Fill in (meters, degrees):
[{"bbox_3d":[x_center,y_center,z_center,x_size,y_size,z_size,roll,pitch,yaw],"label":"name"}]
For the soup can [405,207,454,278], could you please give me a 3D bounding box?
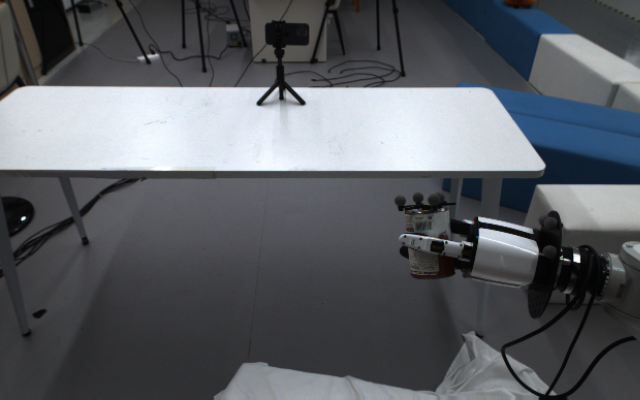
[{"bbox_3d":[0.168,0.063,0.737,0.067,0.101,0.067,-6,3,0],"label":"soup can"}]
